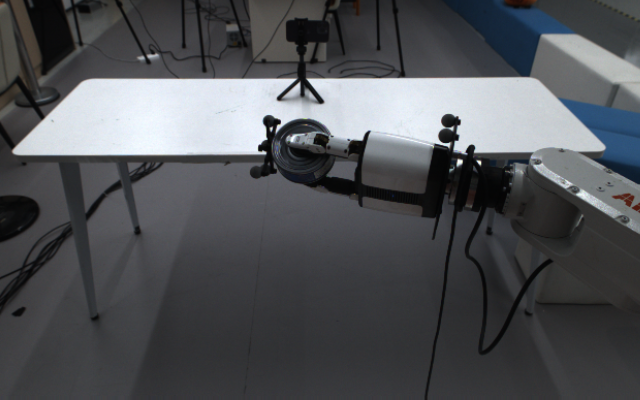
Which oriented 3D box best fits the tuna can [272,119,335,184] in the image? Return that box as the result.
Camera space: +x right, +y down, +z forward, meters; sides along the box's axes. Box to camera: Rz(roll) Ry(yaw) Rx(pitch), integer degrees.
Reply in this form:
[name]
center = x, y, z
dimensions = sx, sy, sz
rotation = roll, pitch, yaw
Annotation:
[tuna can]
center = -0.021, -0.069, 0.662
dimensions = 0.085, 0.034, 0.085
rotation = -2, 69, 6
